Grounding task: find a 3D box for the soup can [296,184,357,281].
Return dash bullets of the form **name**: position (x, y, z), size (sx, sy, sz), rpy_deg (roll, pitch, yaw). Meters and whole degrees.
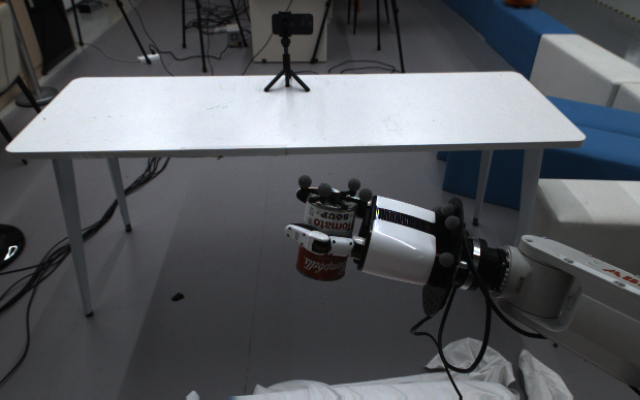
- **soup can**: position (0.010, 0.046, 0.638), size (0.067, 0.101, 0.067), rpy_deg (9, 19, -3)
